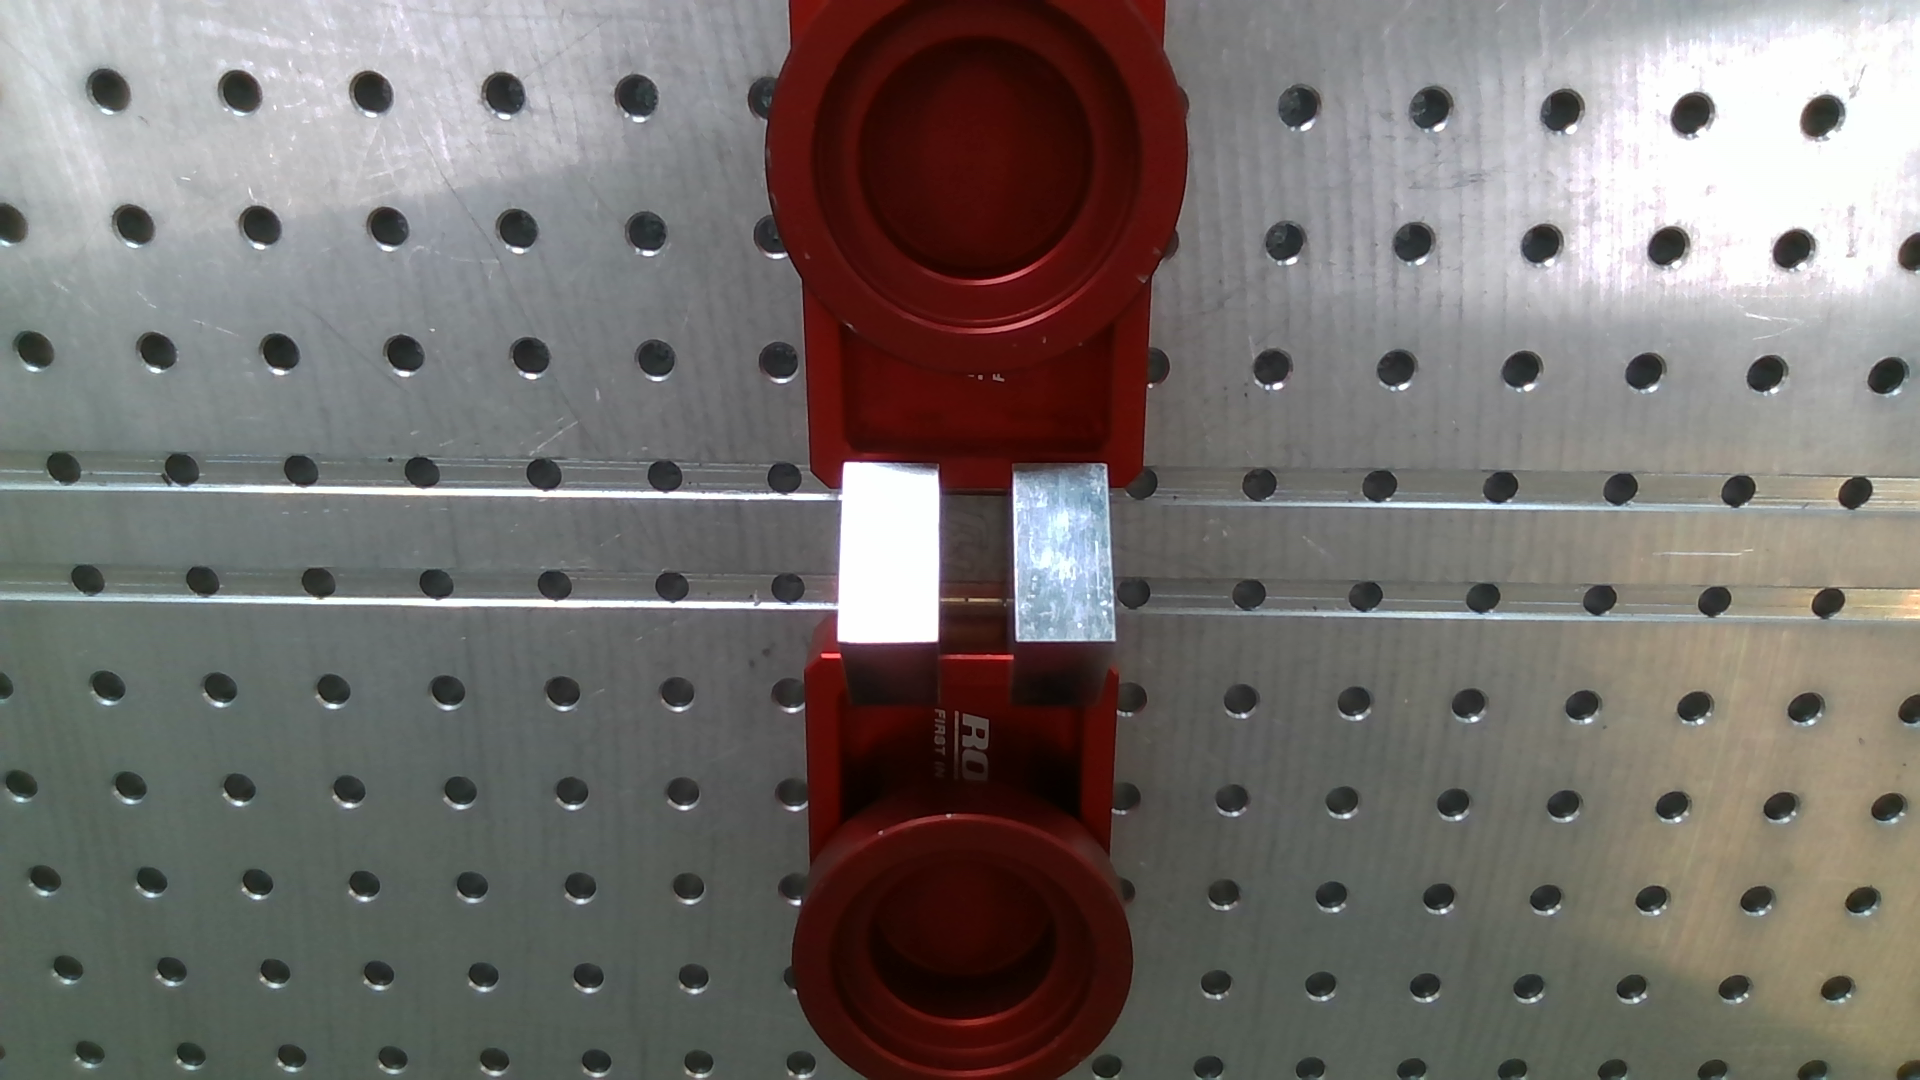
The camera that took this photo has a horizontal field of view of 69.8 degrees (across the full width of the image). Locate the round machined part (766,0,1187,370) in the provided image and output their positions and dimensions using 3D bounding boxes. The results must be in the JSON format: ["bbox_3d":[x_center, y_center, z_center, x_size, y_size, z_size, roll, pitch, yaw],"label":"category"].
[{"bbox_3d":[0.004,-0.095,0.339,0.098,0.042,0.098,0,110,0],"label":"round machined part"}]

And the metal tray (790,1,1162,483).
[{"bbox_3d":[0.005,-0.081,0.365,0.090,0.030,0.130,0,110,2],"label":"metal tray"}]

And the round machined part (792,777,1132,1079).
[{"bbox_3d":[0.000,0.114,0.416,0.098,0.042,0.098,0,110,0],"label":"round machined part"}]

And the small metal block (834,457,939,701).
[{"bbox_3d":[-0.018,0.012,0.371,0.025,0.050,0.050,1,66,0],"label":"small metal block"}]

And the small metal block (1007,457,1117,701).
[{"bbox_3d":[0.026,0.012,0.372,0.025,0.050,0.050,1,66,0],"label":"small metal block"}]

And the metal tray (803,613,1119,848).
[{"bbox_3d":[0.000,0.088,0.426,0.090,0.030,0.130,1,110,0],"label":"metal tray"}]
